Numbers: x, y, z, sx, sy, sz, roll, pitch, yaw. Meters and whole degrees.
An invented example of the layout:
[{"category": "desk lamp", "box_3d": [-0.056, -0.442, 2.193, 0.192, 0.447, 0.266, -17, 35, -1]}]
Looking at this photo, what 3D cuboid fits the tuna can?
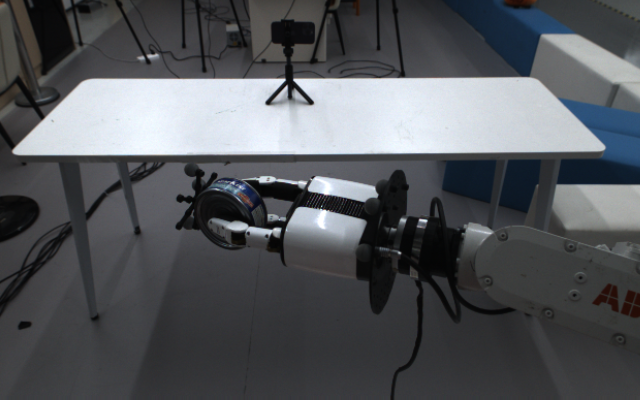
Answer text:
[{"category": "tuna can", "box_3d": [-0.104, 0.021, 0.587, 0.085, 0.085, 0.034, 13, 31, 15]}]
